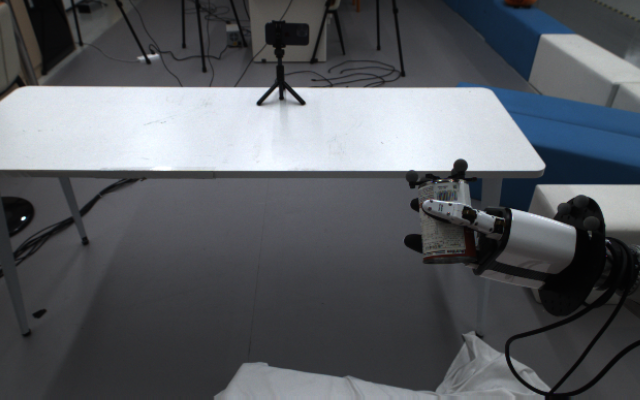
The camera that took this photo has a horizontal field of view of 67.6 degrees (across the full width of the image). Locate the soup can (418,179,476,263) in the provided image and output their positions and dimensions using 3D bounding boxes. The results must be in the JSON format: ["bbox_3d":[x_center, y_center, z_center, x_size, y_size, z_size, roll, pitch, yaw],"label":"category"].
[{"bbox_3d":[0.165,0.027,0.629,0.067,0.067,0.101,0,75,-3],"label":"soup can"}]
